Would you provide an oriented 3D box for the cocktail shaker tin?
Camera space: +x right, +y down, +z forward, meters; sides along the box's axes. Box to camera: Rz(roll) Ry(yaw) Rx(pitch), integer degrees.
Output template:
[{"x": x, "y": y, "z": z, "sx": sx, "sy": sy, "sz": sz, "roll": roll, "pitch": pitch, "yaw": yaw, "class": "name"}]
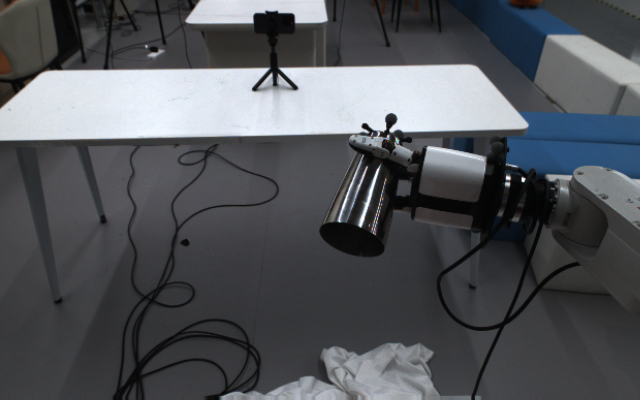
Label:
[{"x": 0.069, "y": -0.017, "z": 0.694, "sx": 0.093, "sy": 0.093, "sz": 0.170, "roll": 13, "pitch": 59, "yaw": 16, "class": "cocktail shaker tin"}]
